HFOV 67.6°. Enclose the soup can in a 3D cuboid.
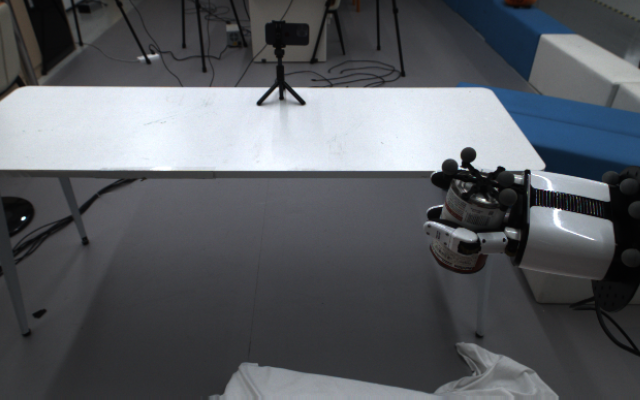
[{"bbox_3d":[0.173,0.025,0.560,0.067,0.101,0.067,5,37,-4],"label":"soup can"}]
